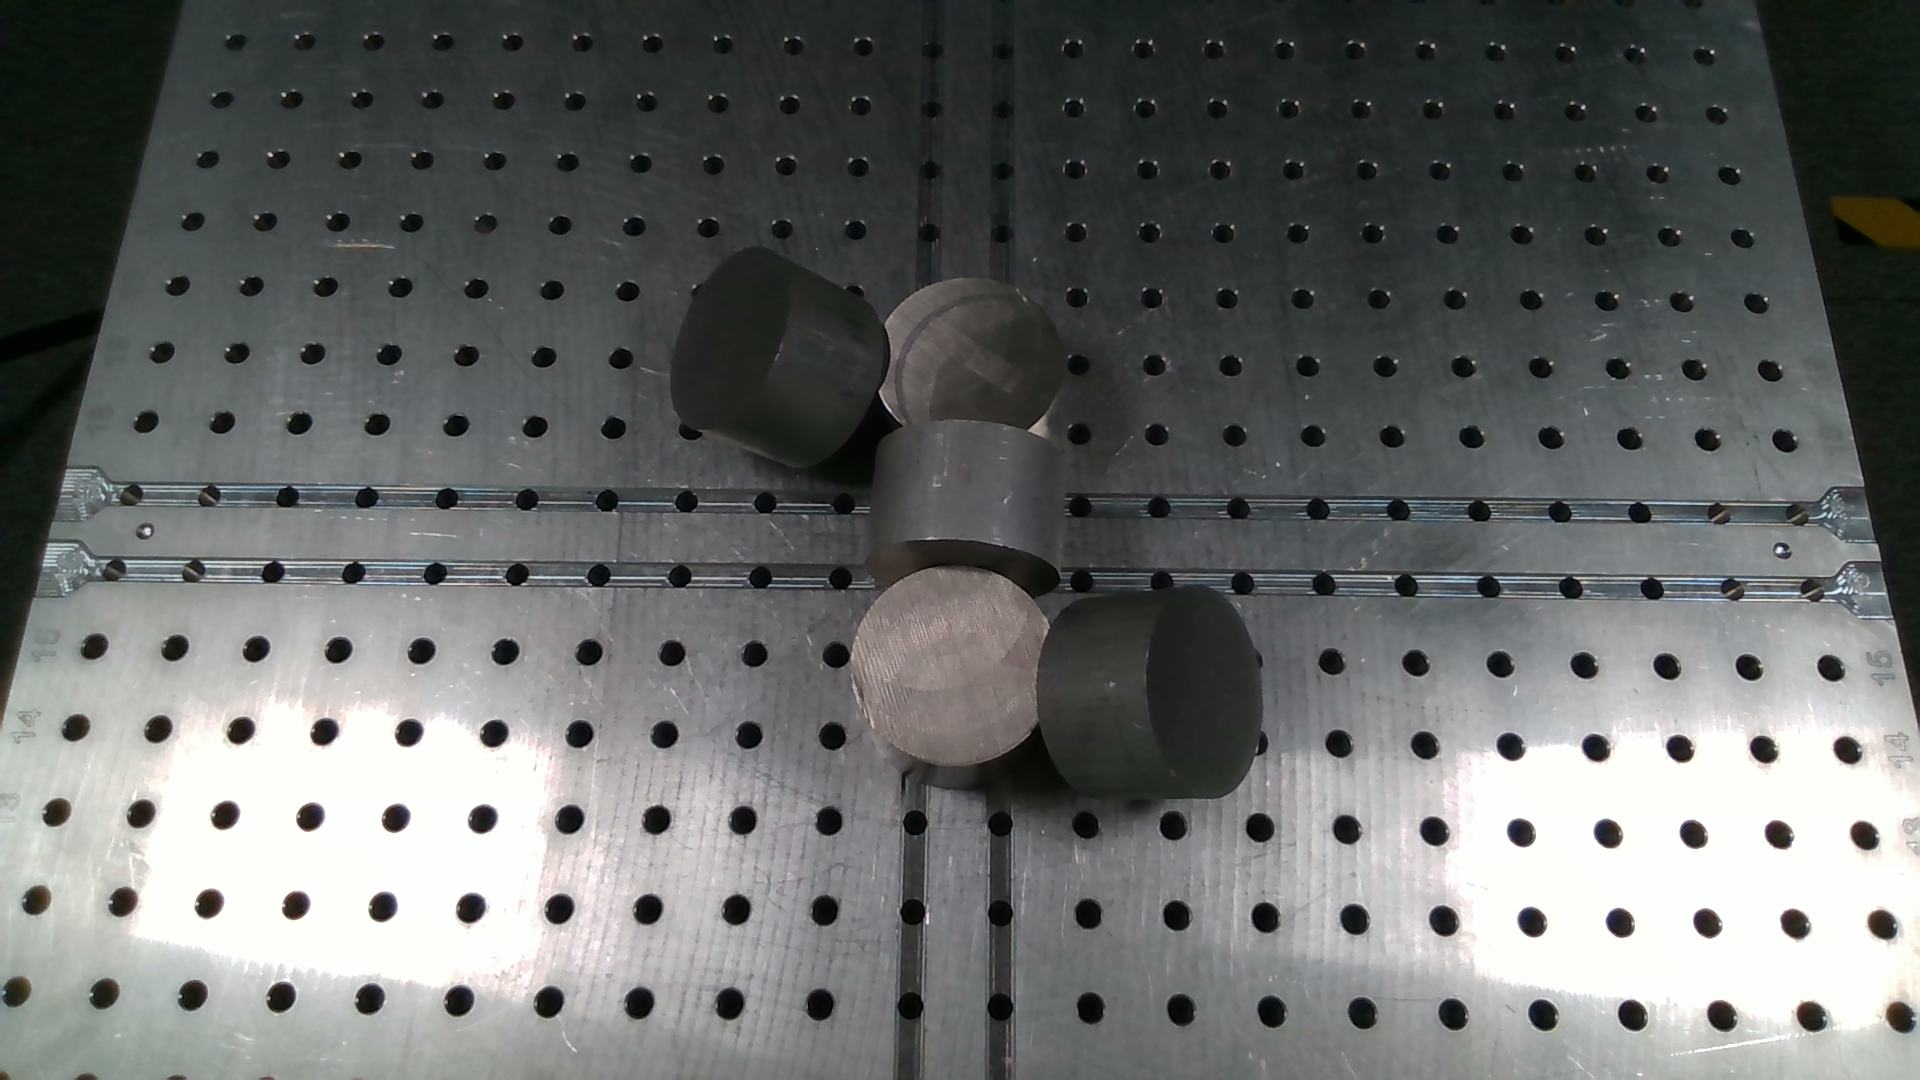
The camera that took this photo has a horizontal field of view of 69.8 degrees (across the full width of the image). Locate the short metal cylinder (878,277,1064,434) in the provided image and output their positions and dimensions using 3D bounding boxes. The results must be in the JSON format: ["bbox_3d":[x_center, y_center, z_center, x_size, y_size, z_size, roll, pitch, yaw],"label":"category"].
[{"bbox_3d":[0.004,-0.067,0.600,0.080,0.050,0.080,0,70,0],"label":"short metal cylinder"}]

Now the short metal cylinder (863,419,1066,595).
[{"bbox_3d":[0.003,-0.010,0.565,0.080,0.080,0.050,4,70,2],"label":"short metal cylinder"}]

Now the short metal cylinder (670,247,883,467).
[{"bbox_3d":[-0.078,-0.076,0.583,0.080,0.050,0.080,-19,61,40],"label":"short metal cylinder"}]

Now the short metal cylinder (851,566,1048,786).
[{"bbox_3d":[-0.002,0.056,0.557,0.080,0.050,0.080,0,70,0],"label":"short metal cylinder"}]

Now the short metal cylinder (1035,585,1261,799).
[{"bbox_3d":[0.074,0.060,0.533,0.050,0.080,0.080,-9,63,41],"label":"short metal cylinder"}]
